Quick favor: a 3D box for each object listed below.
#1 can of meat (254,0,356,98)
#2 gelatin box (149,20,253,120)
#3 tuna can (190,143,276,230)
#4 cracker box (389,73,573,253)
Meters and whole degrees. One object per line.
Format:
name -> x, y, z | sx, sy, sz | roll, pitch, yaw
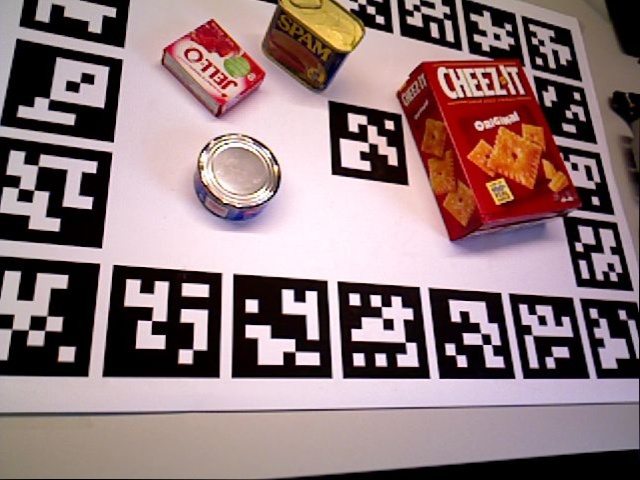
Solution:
can of meat -> -0.022, -0.228, 0.638 | 0.101, 0.085, 0.056 | 33, 60, -6
gelatin box -> -0.130, -0.189, 0.600 | 0.089, 0.031, 0.071 | 45, 57, -4
tuna can -> -0.090, -0.054, 0.560 | 0.085, 0.034, 0.085 | 6, 71, -20
cracker box -> 0.204, -0.105, 0.690 | 0.161, 0.073, 0.213 | -11, 73, -28
